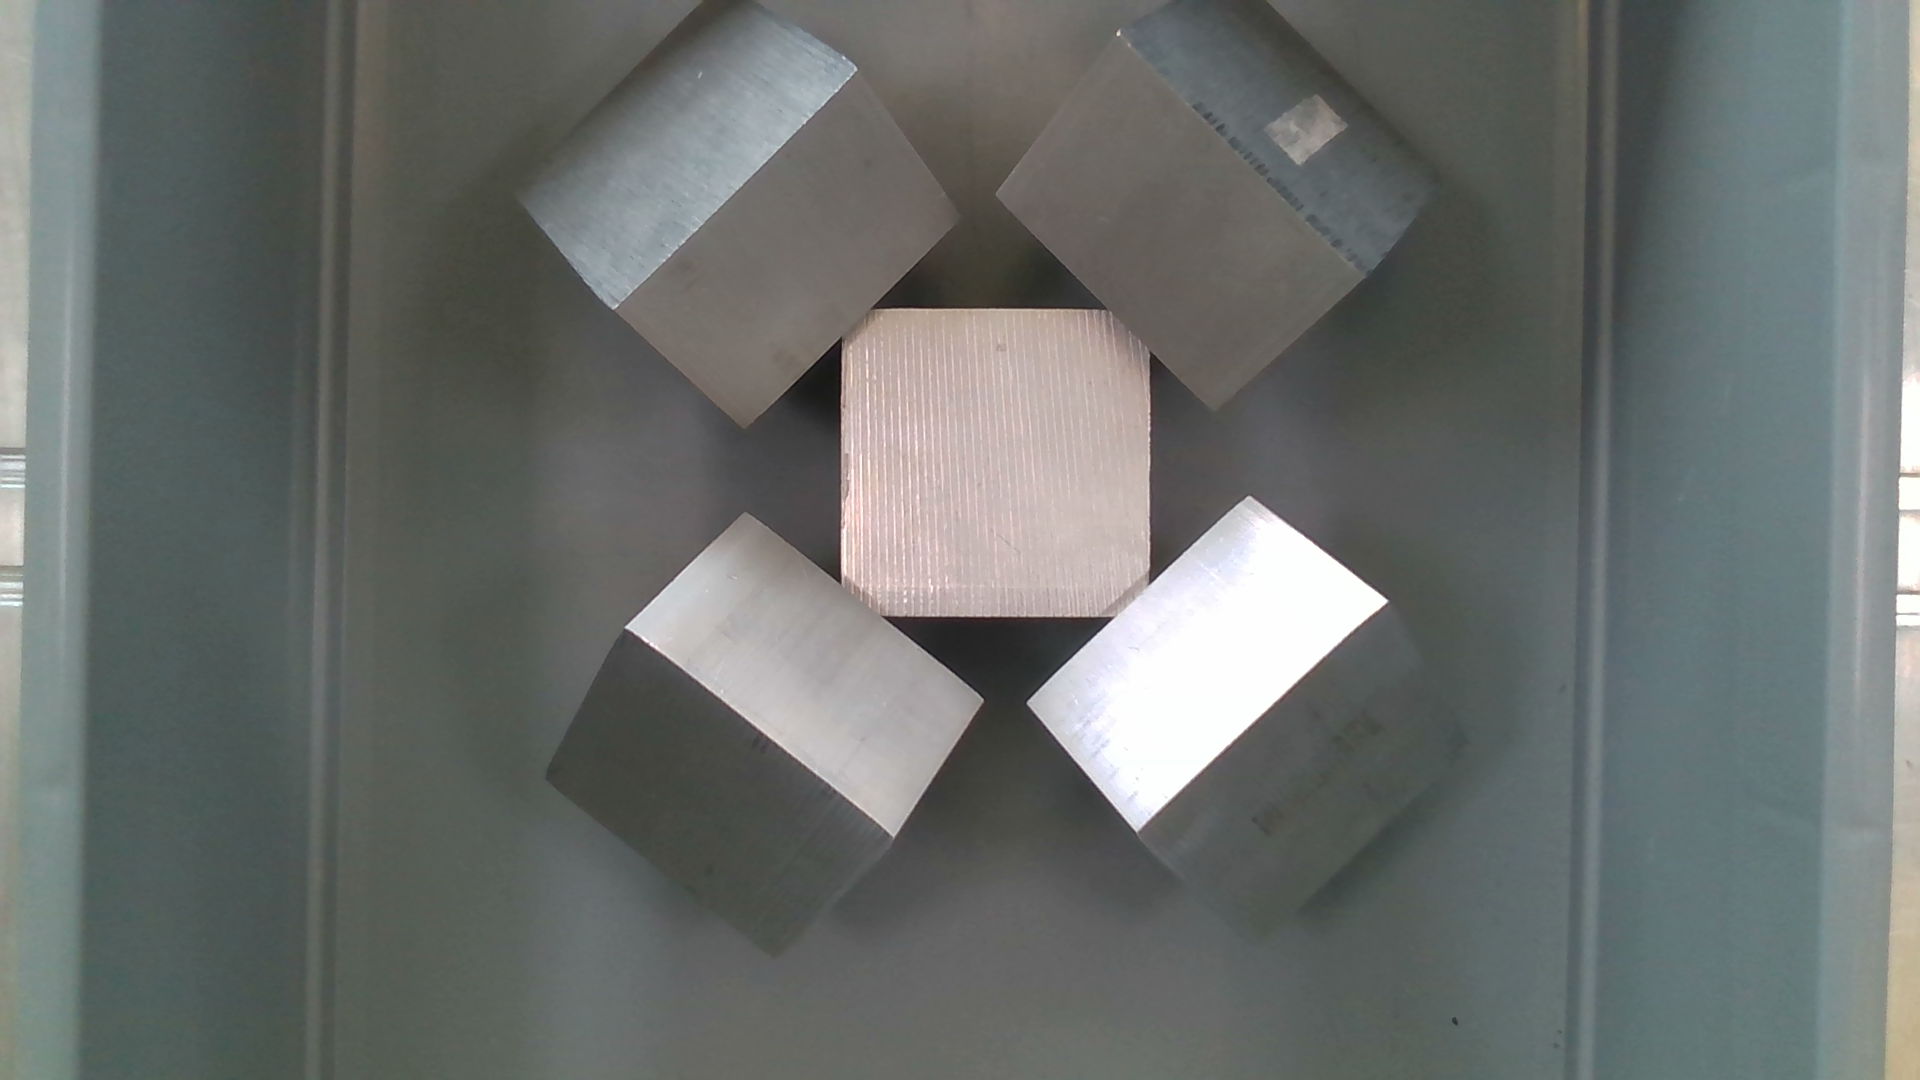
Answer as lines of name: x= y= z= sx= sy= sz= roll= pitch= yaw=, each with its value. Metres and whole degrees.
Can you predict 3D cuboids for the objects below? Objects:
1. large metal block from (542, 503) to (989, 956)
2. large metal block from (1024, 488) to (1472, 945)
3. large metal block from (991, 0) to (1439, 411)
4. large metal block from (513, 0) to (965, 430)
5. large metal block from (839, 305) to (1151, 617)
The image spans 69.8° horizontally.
large metal block: x=-0.053 y=0.052 z=0.360 sx=0.080 sy=0.050 sz=0.080 roll=38 pitch=135 yaw=-1
large metal block: x=0.077 y=0.048 z=0.361 sx=0.080 sy=0.050 sz=0.080 roll=-43 pitch=133 yaw=-1
large metal block: x=0.068 y=-0.093 z=0.358 sx=0.080 sy=0.080 sz=0.050 roll=44 pitch=133 yaw=0
large metal block: x=-0.060 y=-0.089 z=0.361 sx=0.080 sy=0.050 sz=0.080 roll=-44 pitch=46 yaw=0
large metal block: x=0.009 y=-0.020 z=0.381 sx=0.080 sy=0.050 sz=0.080 roll=1 pitch=90 yaw=0
